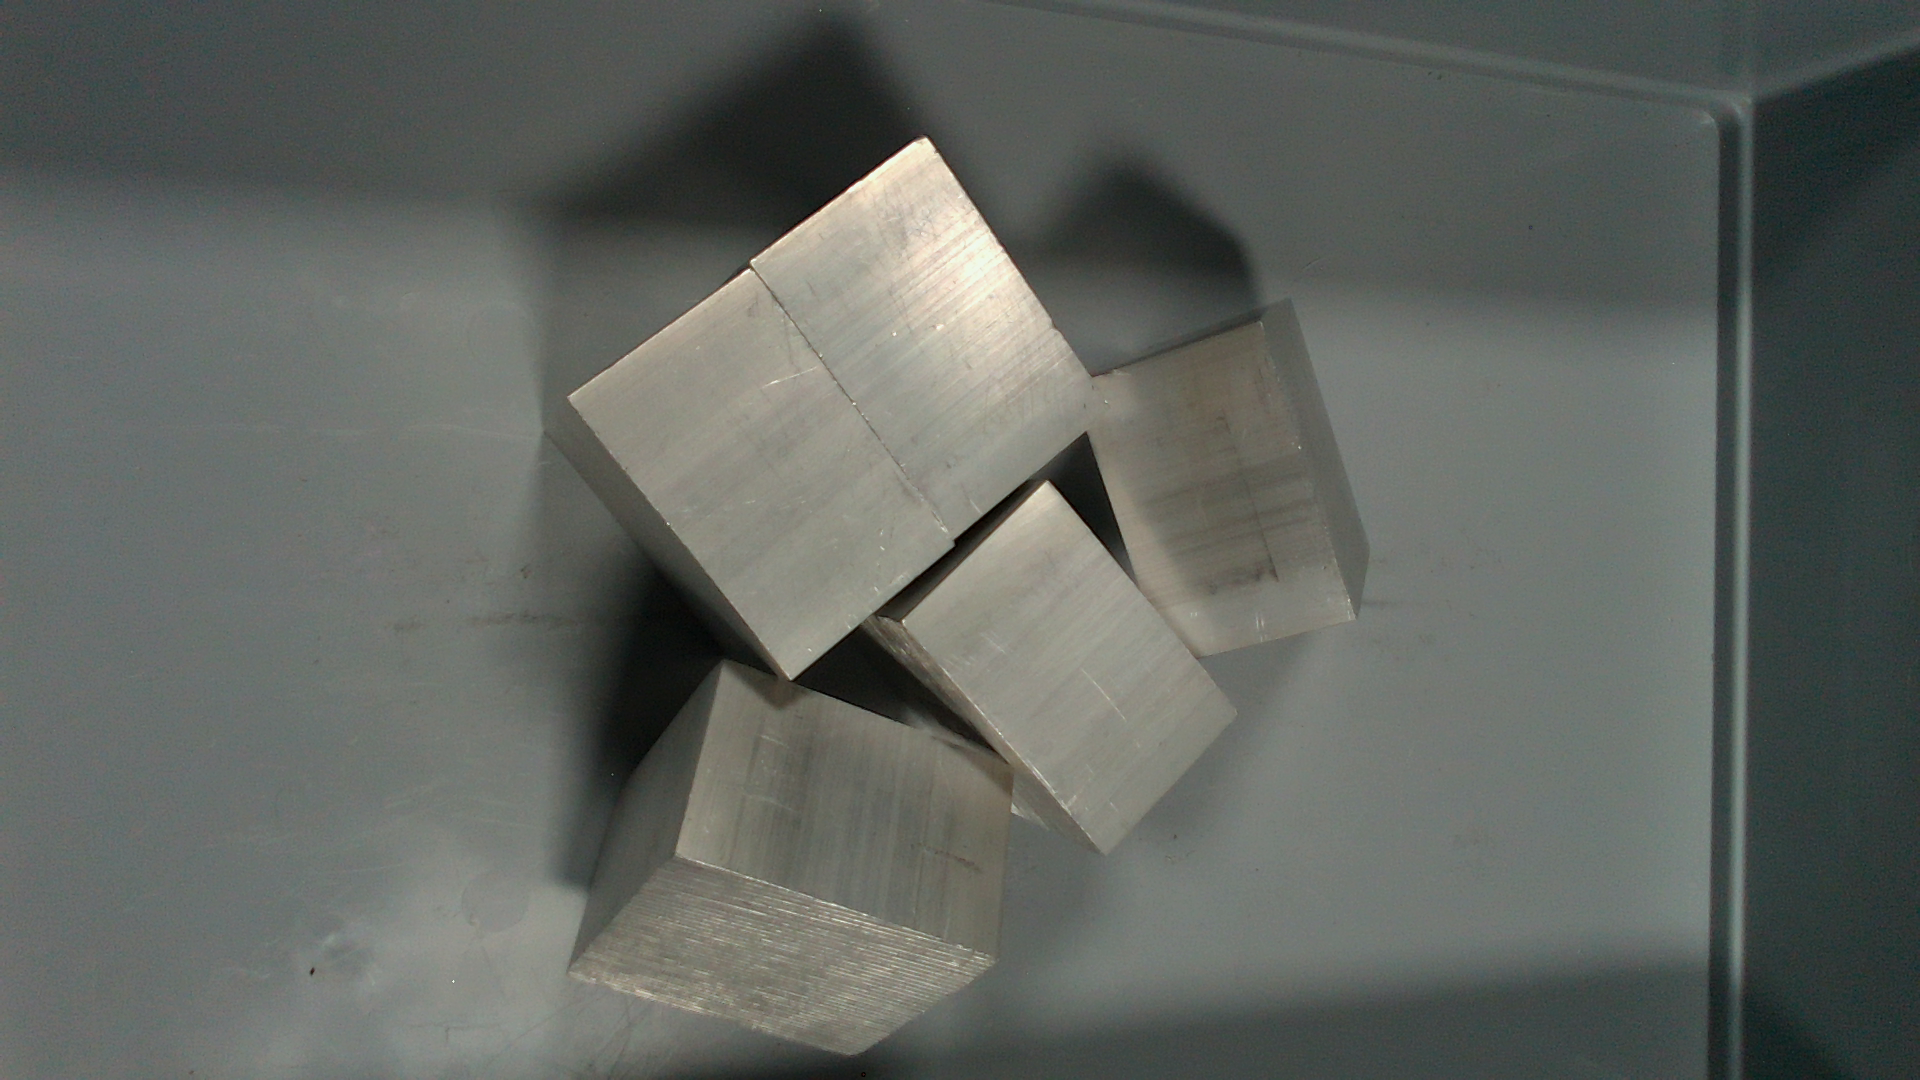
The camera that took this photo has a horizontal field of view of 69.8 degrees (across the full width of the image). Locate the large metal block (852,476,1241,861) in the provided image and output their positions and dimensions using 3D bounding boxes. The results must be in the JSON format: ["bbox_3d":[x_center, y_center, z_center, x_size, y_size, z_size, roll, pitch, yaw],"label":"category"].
[{"bbox_3d":[0.015,0.031,0.368,0.050,0.080,0.080,-43,104,-15],"label":"large metal block"}]

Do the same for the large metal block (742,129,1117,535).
[{"bbox_3d":[-0.017,-0.048,0.357,0.050,0.080,0.080,-40,103,-15],"label":"large metal block"}]

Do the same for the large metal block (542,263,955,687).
[{"bbox_3d":[-0.056,-0.014,0.343,0.050,0.080,0.080,-39,102,-15],"label":"large metal block"}]

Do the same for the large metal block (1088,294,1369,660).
[{"bbox_3d":[0.076,-0.019,0.384,0.050,0.080,0.080,-17,97,21],"label":"large metal block"}]

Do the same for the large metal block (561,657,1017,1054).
[{"bbox_3d":[-0.042,0.082,0.341,0.080,0.080,0.050,23,48,-19],"label":"large metal block"}]
